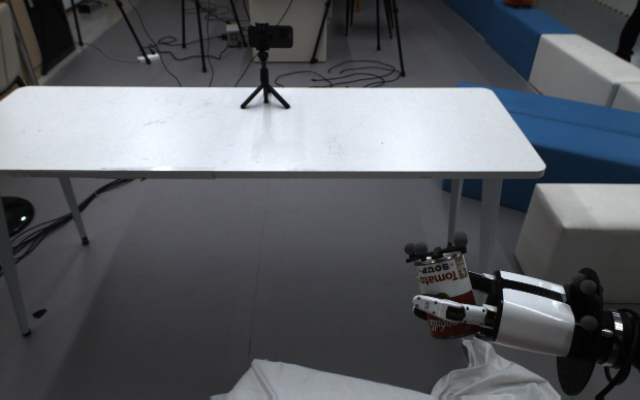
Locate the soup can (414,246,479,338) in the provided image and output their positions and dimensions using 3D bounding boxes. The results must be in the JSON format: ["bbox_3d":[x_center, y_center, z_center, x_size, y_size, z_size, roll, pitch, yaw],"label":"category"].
[{"bbox_3d":[0.169,0.122,0.640,0.067,0.101,0.067,-14,-2,-1],"label":"soup can"}]
